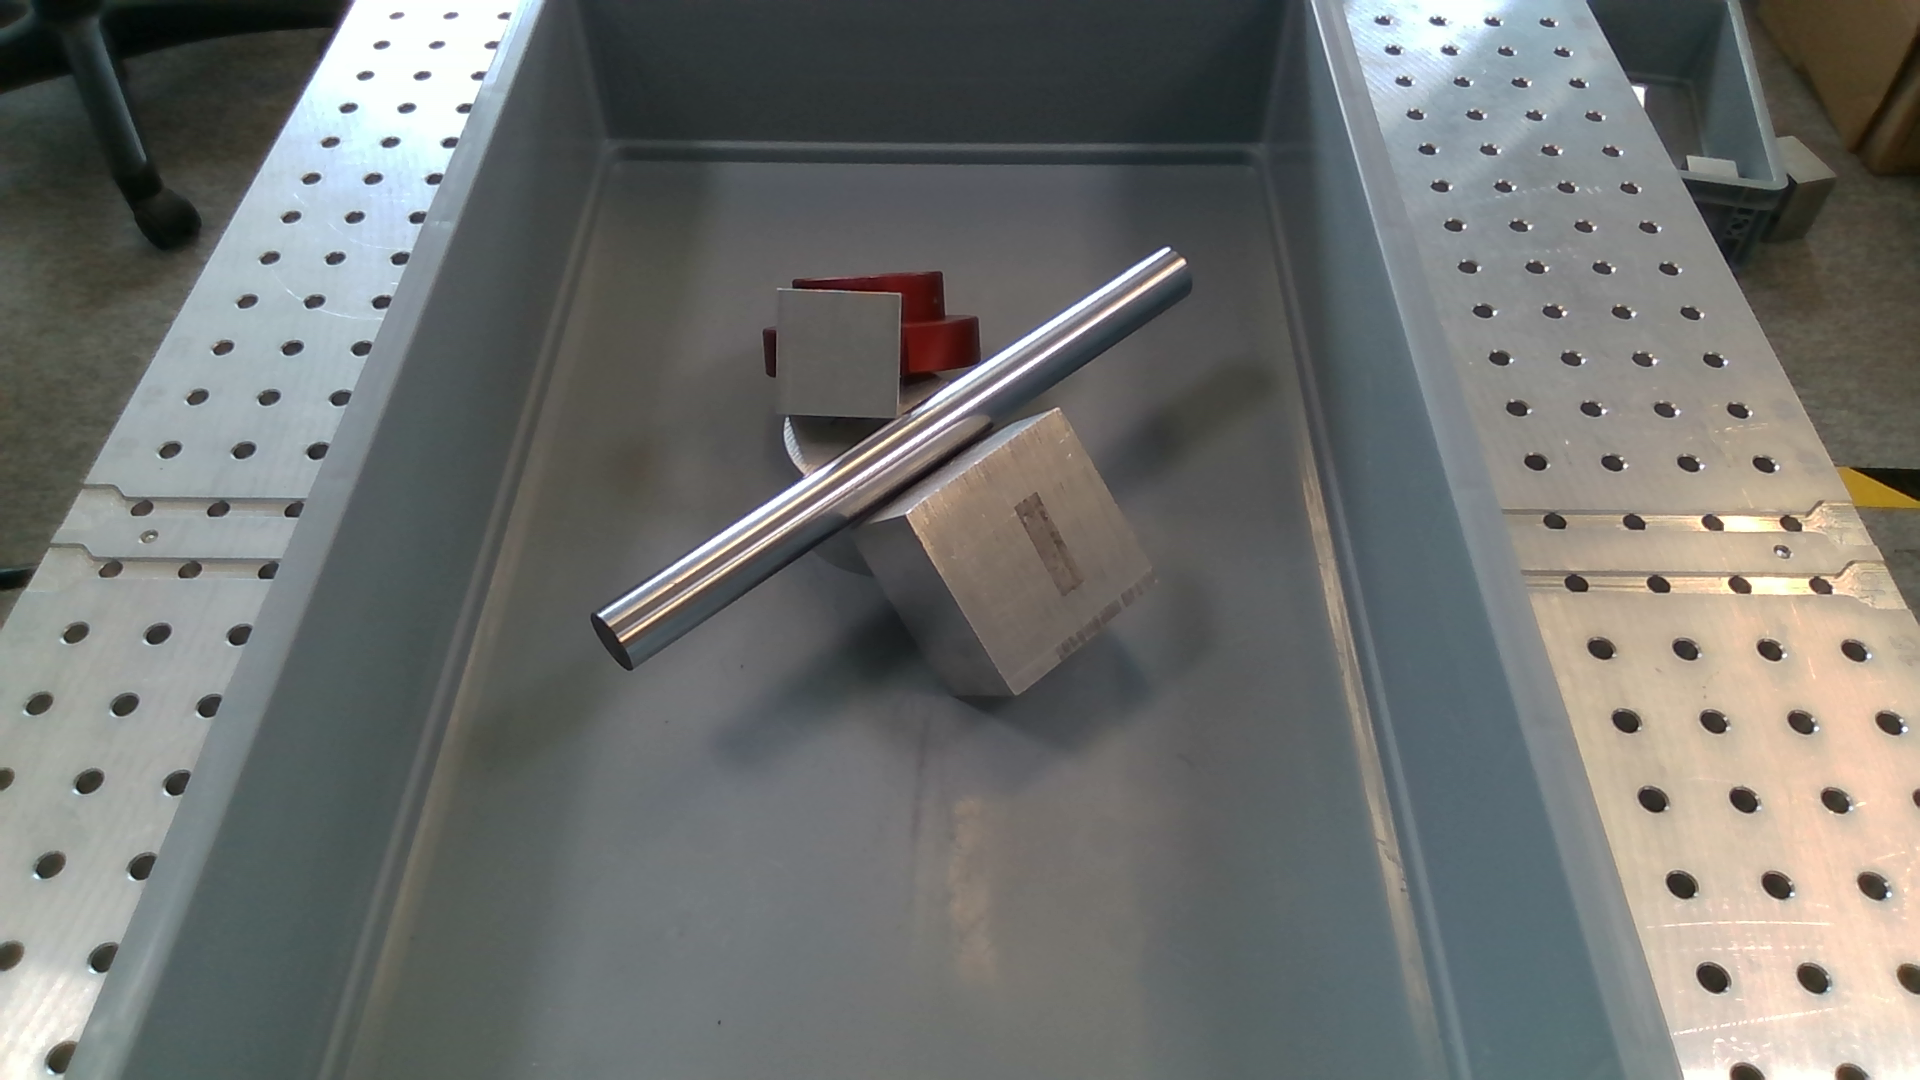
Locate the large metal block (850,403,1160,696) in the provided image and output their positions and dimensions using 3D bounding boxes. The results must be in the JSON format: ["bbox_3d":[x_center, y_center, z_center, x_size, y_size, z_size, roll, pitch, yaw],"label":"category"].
[{"bbox_3d":[0.017,0.005,0.537,0.080,0.050,0.080,-37,102,-26],"label":"large metal block"}]

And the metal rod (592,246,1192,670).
[{"bbox_3d":[-0.014,-0.043,0.556,0.300,0.025,0.025,-36,59,-26],"label":"metal rod"}]

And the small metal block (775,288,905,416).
[{"bbox_3d":[-0.049,-0.077,0.566,0.050,0.050,0.025,2,10,2],"label":"small metal block"}]

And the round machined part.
[{"bbox_3d":[-0.041,-0.099,0.624,0.098,0.042,0.098,-3,12,1],"label":"round machined part"}]

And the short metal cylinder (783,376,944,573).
[{"bbox_3d":[-0.034,-0.032,0.596,0.080,0.050,0.080,0,50,0],"label":"short metal cylinder"}]
